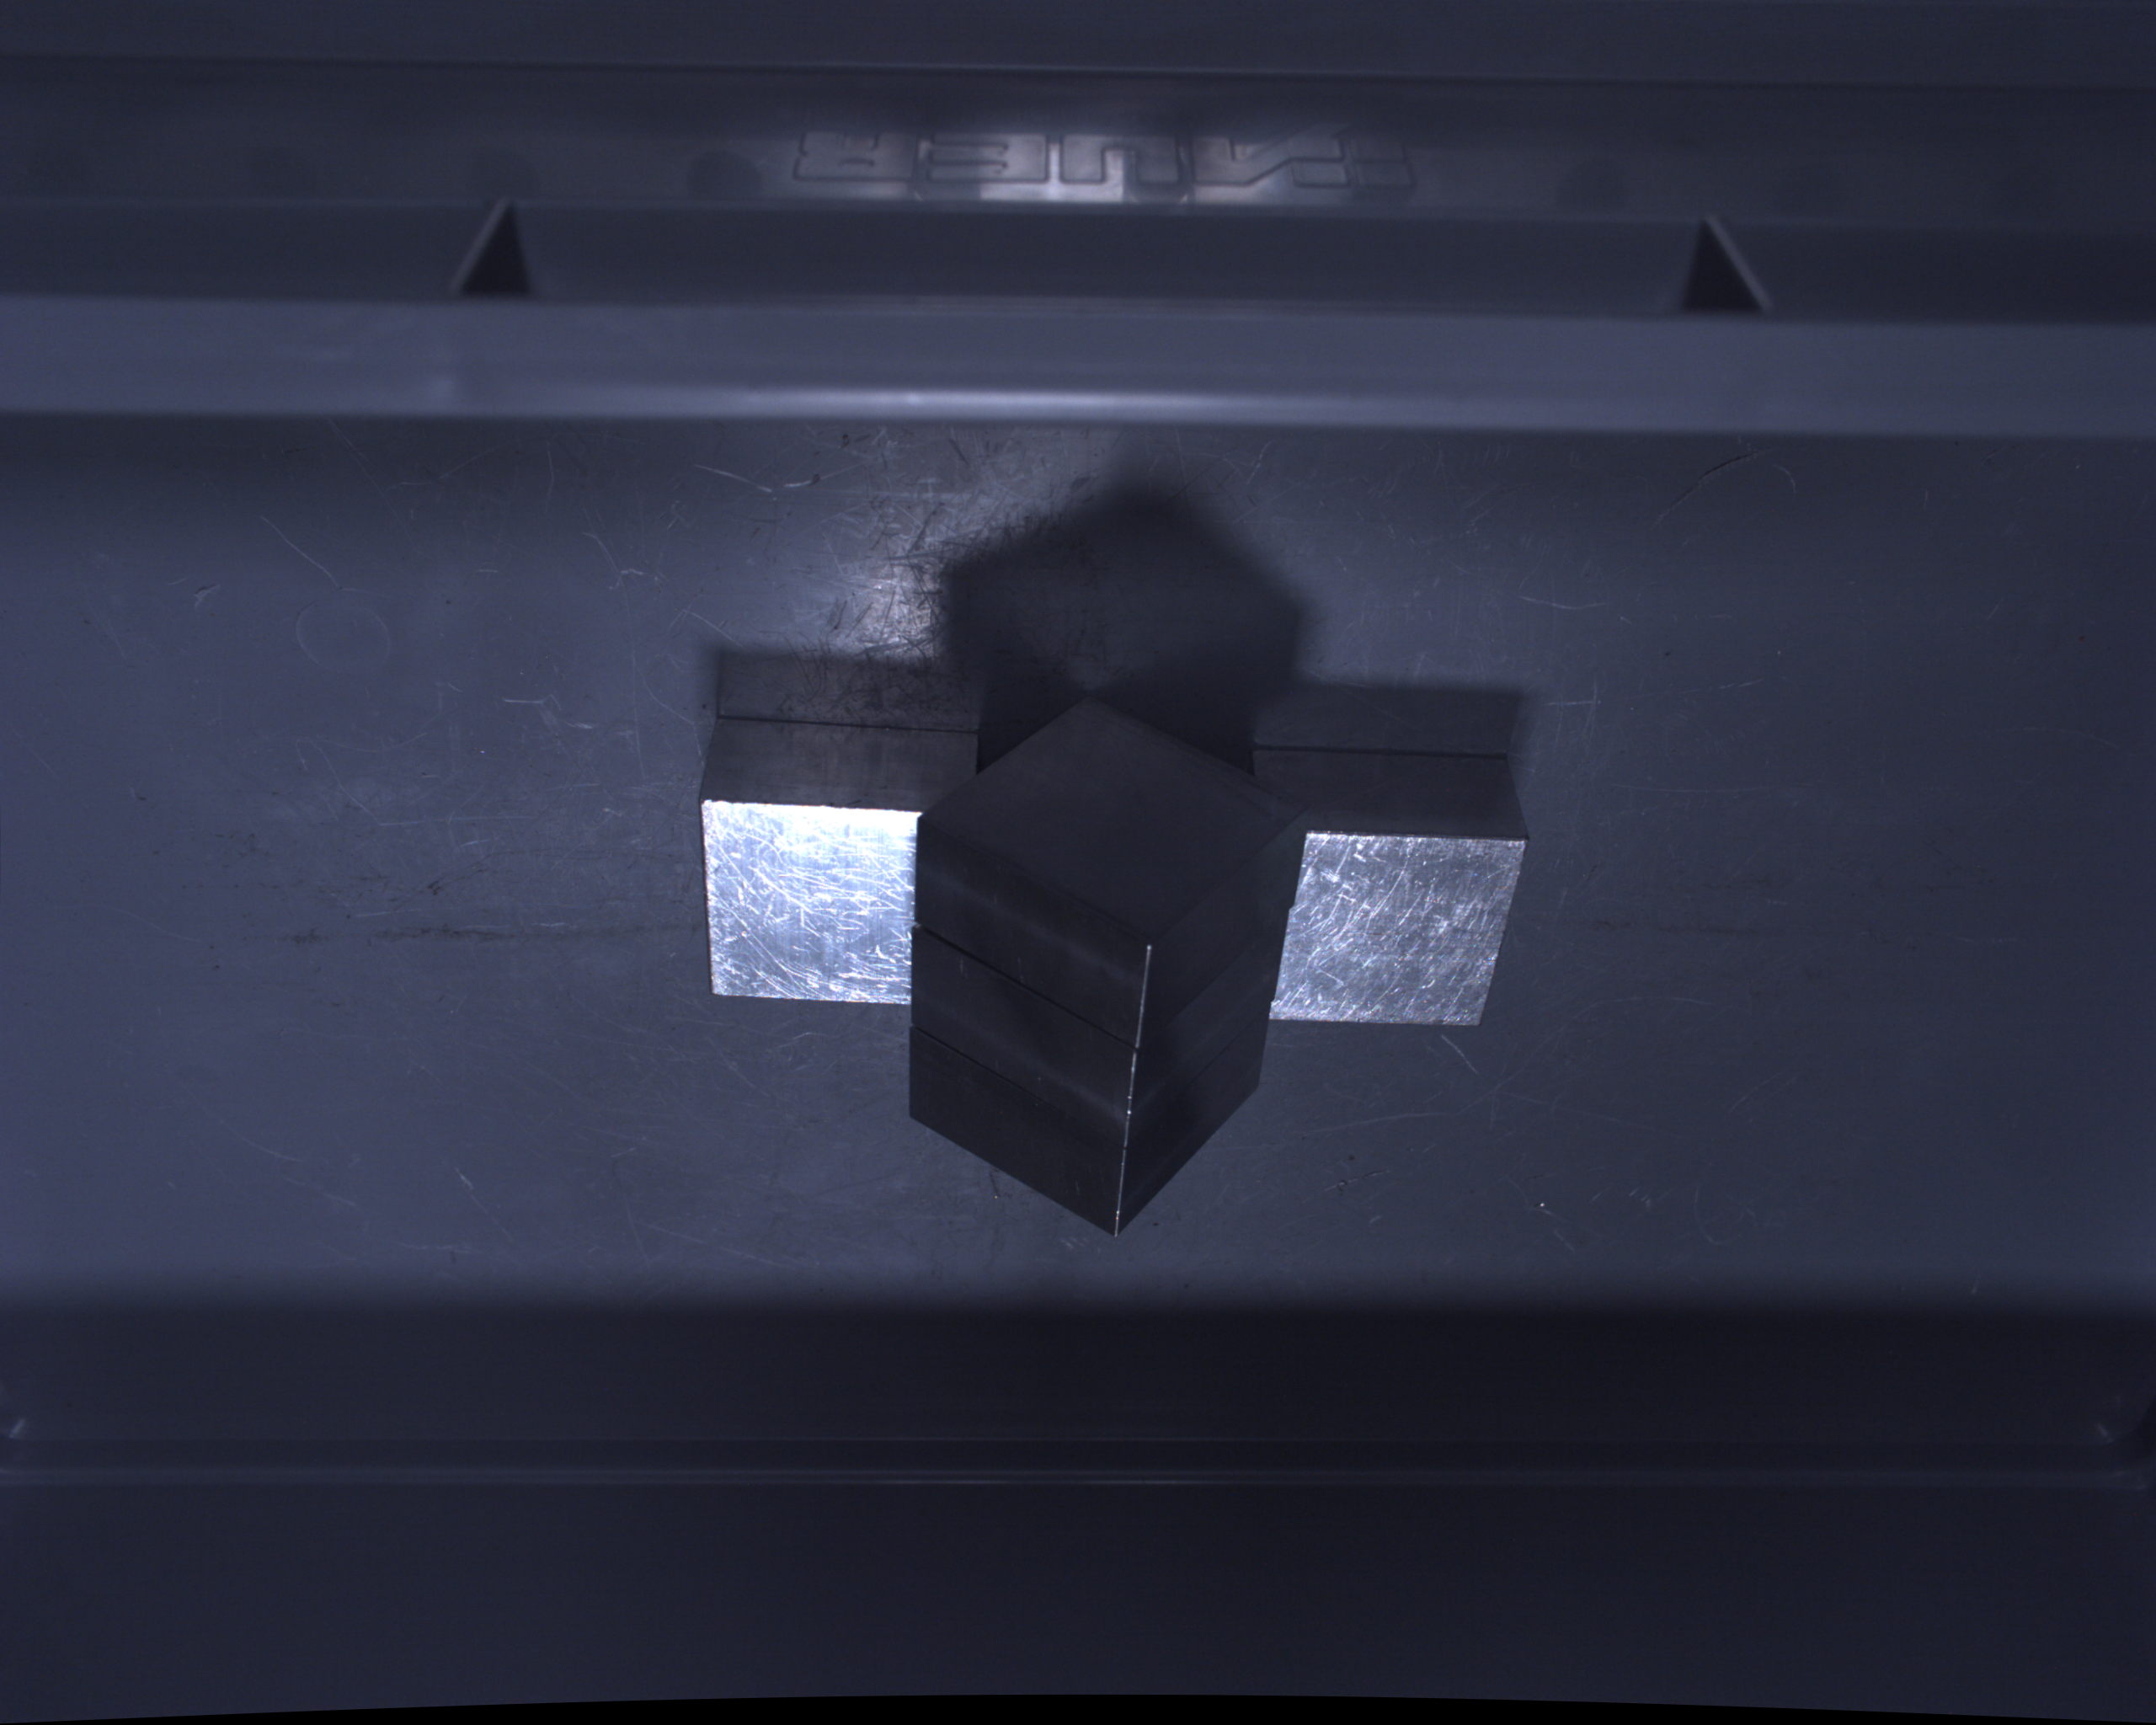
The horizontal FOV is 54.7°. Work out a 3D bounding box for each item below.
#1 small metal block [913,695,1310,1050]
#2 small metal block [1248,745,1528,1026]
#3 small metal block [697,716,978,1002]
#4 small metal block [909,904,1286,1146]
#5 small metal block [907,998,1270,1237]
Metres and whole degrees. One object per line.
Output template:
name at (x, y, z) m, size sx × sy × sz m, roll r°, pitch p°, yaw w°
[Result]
small metal block at (0.006, 0.000, 0.377) m, size 0.050 × 0.050 × 0.025 m, roll 27°, pitch 134°, yaw 25°
small metal block at (0.057, 0.005, 0.413) m, size 0.050 × 0.025 × 0.050 m, roll 2°, pitch 130°, yaw -3°
small metal block at (-0.046, 0.000, 0.407) m, size 0.050 × 0.025 × 0.050 m, roll 3°, pitch 130°, yaw -3°
small metal block at (0.004, 0.019, 0.394) m, size 0.050 × 0.050 × 0.025 m, roll 27°, pitch 135°, yaw 25°
small metal block at (0.002, 0.038, 0.410) m, size 0.050 × 0.050 × 0.025 m, roll 27°, pitch 135°, yaw 25°
